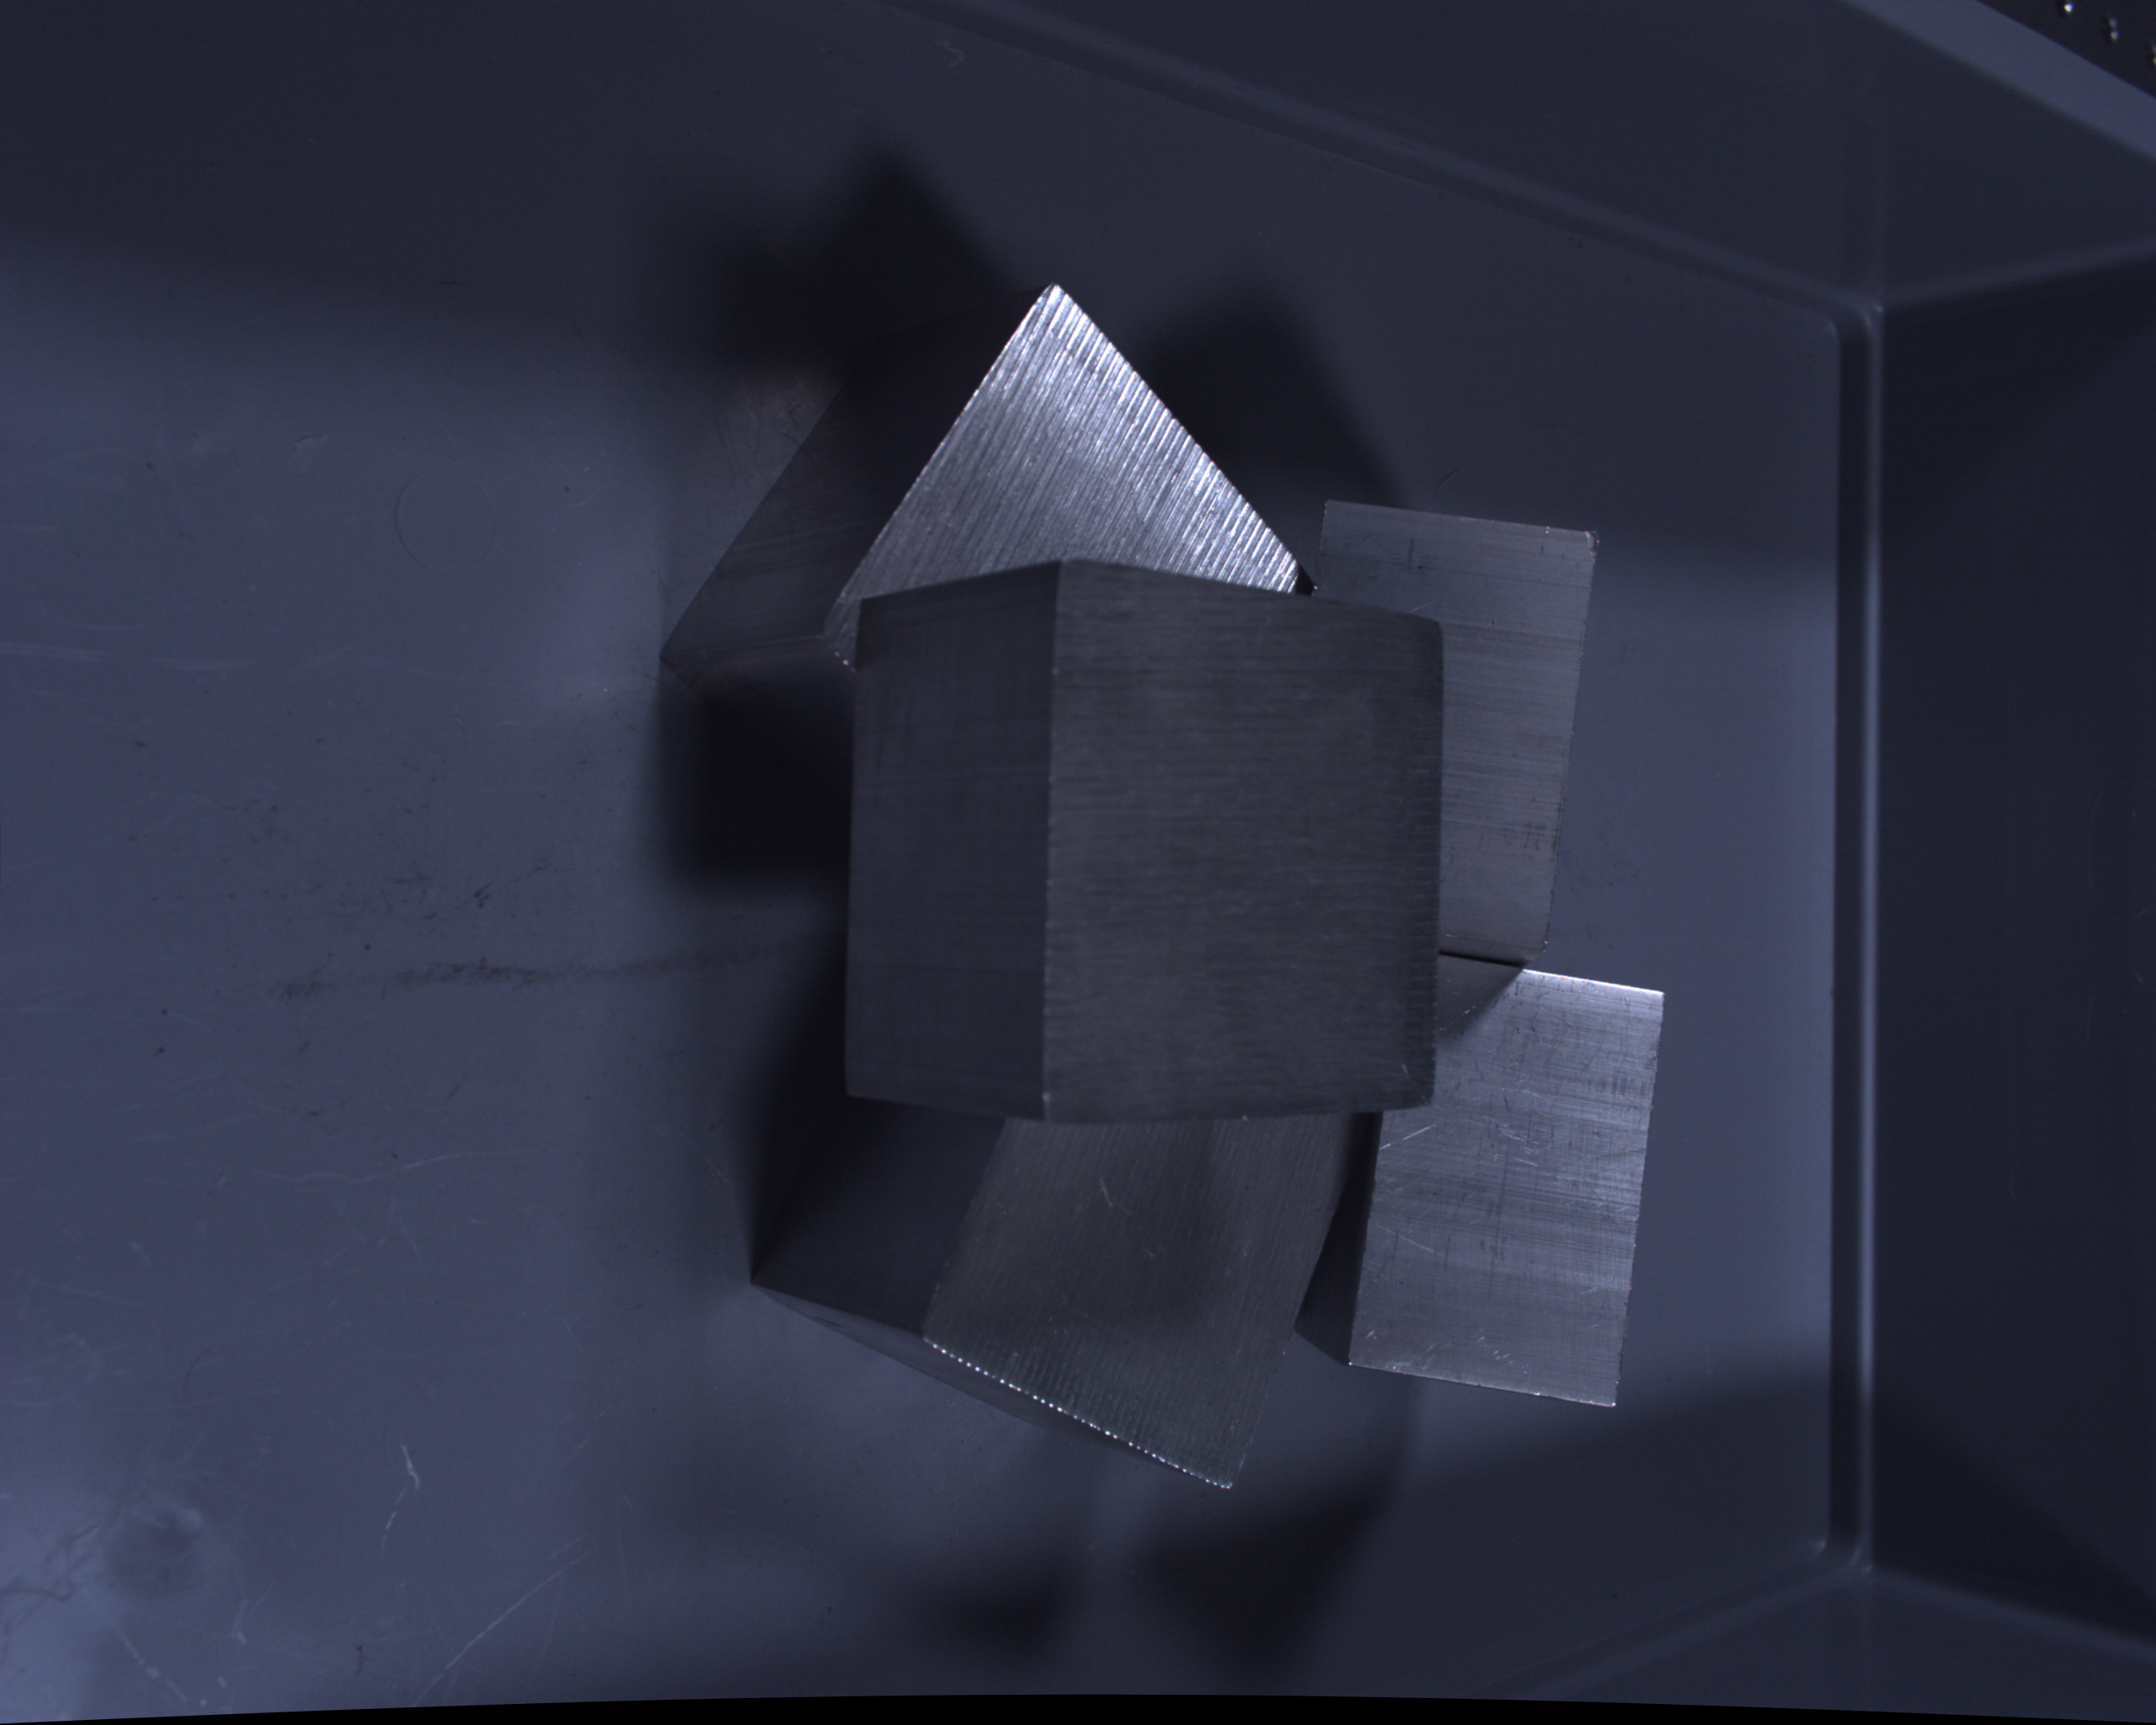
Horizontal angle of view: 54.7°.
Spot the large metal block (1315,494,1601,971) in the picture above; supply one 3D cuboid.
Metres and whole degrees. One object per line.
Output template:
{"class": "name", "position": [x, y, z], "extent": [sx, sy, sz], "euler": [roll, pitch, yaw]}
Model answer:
{"class": "large metal block", "position": [0.068, -0.021, 0.420], "extent": [0.080, 0.050, 0.080], "euler": [63, 36, -81]}

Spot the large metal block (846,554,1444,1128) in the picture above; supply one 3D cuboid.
{"class": "large metal block", "position": [0.012, -0.001, 0.333], "extent": [0.081, 0.050, 0.080], "euler": [3, 87, -39]}

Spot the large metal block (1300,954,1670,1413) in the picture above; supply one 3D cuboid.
{"class": "large metal block", "position": [0.080, 0.064, 0.430], "extent": [0.050, 0.080, 0.080], "euler": [9, 82, 0]}

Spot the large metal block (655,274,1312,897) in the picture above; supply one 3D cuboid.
{"class": "large metal block", "position": [-0.014, -0.045, 0.379], "extent": [0.080, 0.050, 0.080], "euler": [44, 64, -32]}

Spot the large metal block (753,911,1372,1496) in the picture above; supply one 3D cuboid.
{"class": "large metal block", "position": [0.000, 0.061, 0.387], "extent": [0.080, 0.050, 0.080], "euler": [37, 67, -34]}
